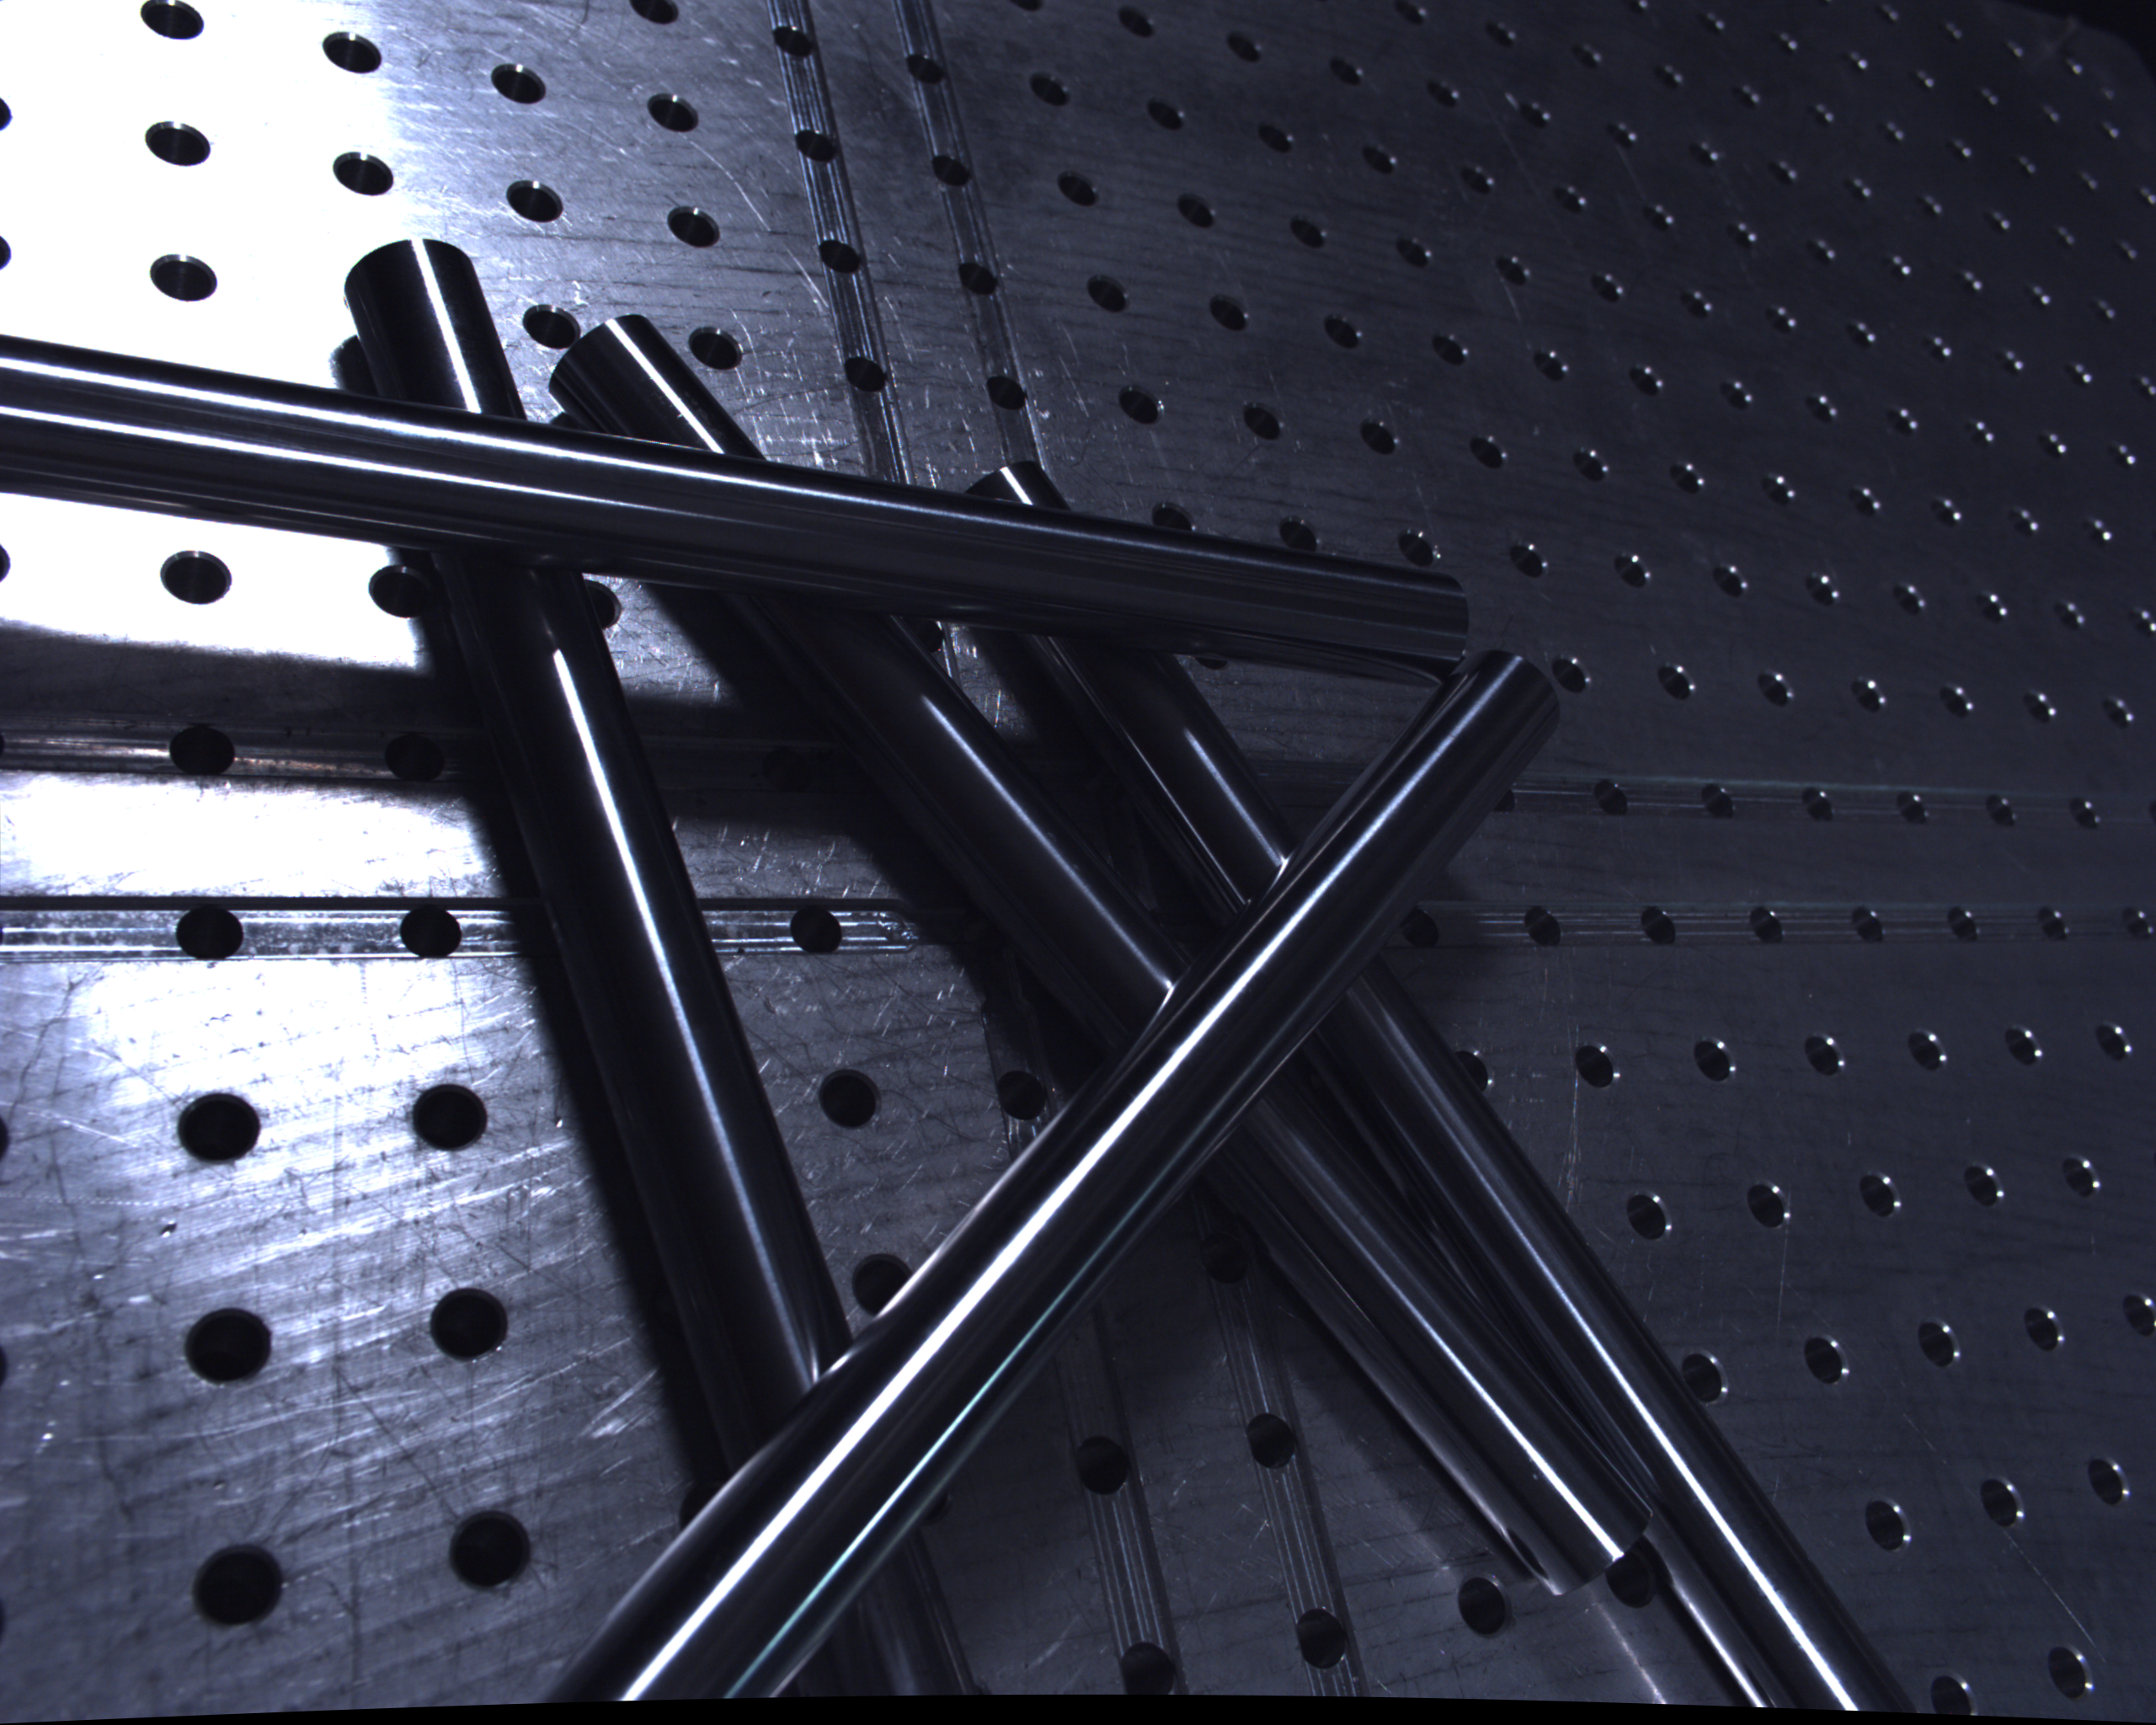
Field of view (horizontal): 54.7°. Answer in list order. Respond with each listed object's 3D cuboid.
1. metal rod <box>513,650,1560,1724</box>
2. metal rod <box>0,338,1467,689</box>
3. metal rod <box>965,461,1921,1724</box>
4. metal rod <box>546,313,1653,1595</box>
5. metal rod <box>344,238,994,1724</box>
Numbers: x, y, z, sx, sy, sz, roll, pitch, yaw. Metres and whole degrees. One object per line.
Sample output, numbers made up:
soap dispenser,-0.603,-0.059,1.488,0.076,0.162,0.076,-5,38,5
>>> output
metal rod,0.009,0.047,0.353,0.025,0.025,0.302,44,51,2
metal rod,-0.059,-0.061,0.383,0.302,0.025,0.025,5,60,-26
metal rod,0.063,0.044,0.417,0.025,0.025,0.299,-25,76,-37
metal rod,0.000,0.012,0.401,0.025,0.025,0.300,-35,81,-39
metal rod,-0.075,0.016,0.358,0.025,0.025,0.299,-10,67,-33
